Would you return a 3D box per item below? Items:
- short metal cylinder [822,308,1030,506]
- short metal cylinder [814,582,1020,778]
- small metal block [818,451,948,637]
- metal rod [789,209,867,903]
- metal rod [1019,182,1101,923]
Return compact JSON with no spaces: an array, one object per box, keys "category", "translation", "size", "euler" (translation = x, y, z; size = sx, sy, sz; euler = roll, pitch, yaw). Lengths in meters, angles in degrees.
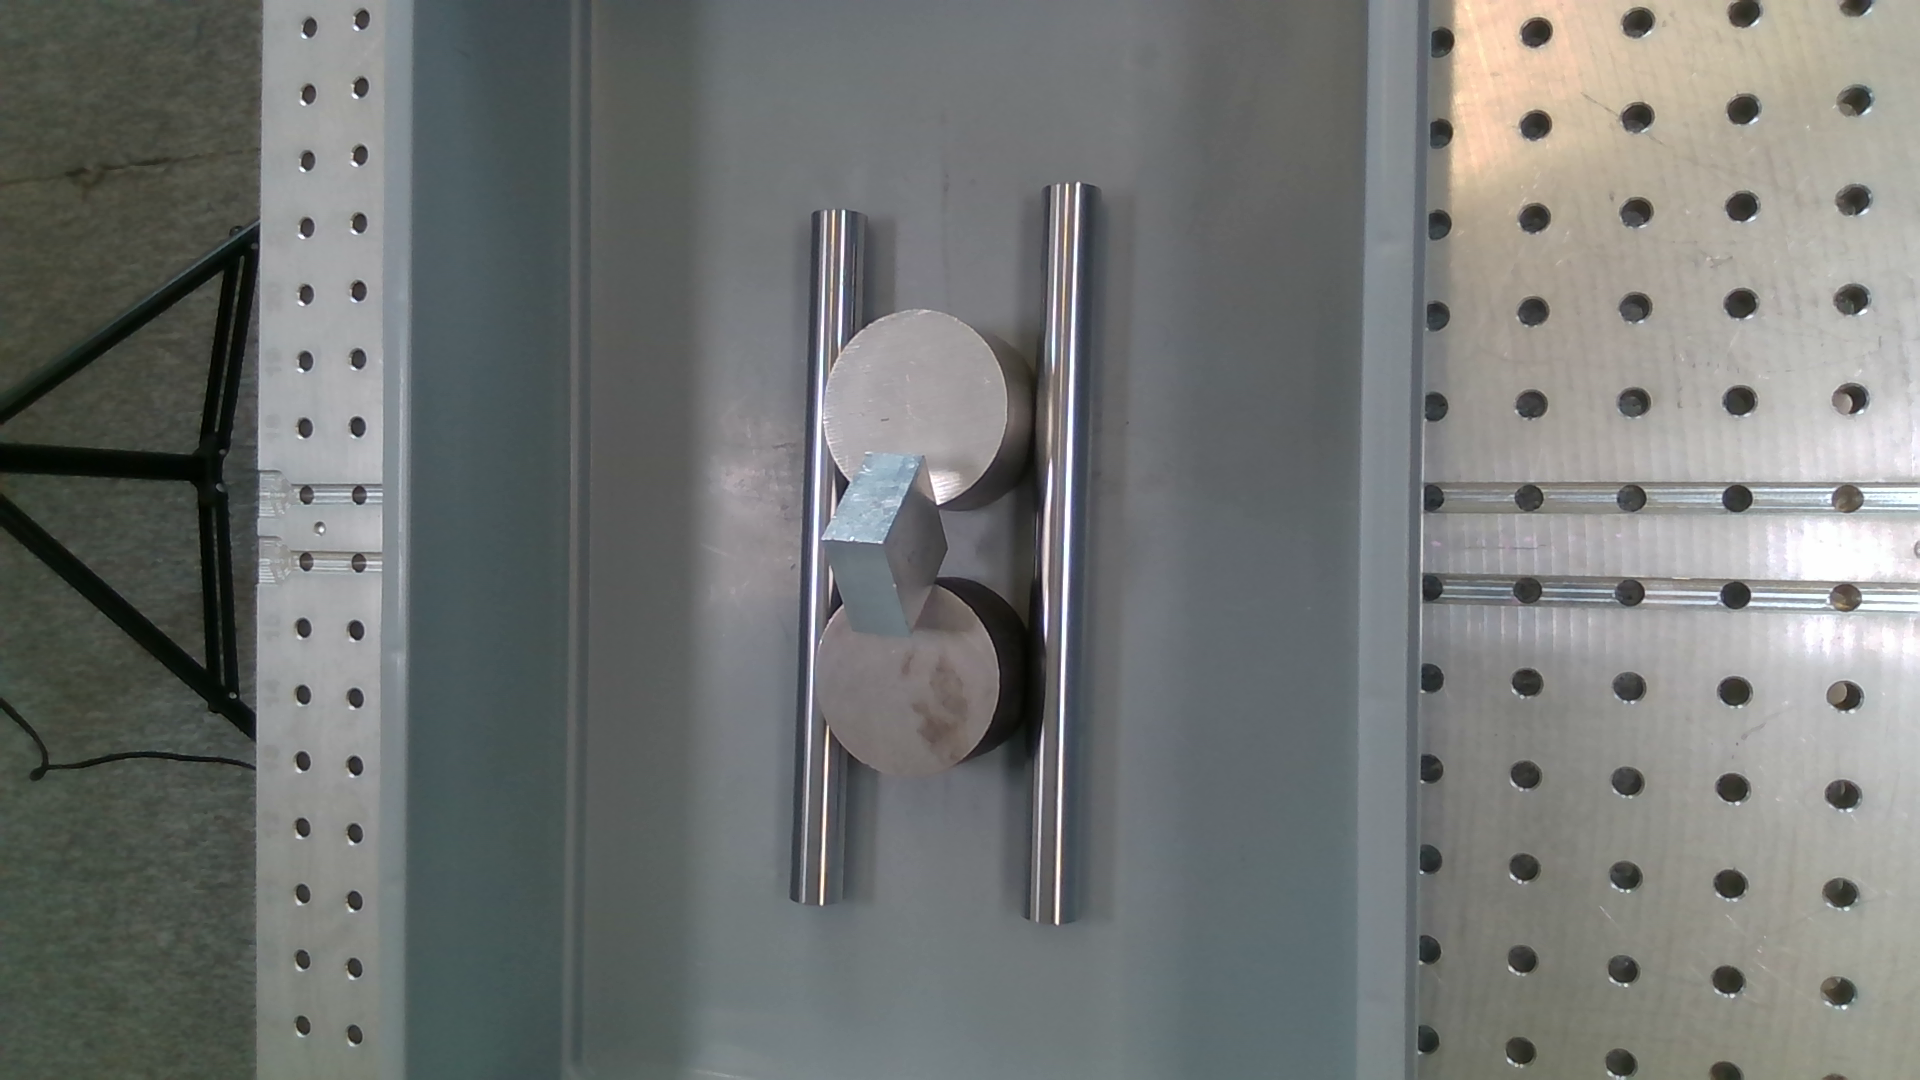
[{"category":"short metal cylinder","translation":[-0.011,-0.053,0.575],"size":[0.080,0.050,0.080],"euler":[0,91,20]},{"category":"short metal cylinder","translation":[-0.014,0.056,0.578],"size":[0.080,0.050,0.080],"euler":[0,91,20]},{"category":"small metal block","translation":[-0.029,0.001,0.533],"size":[0.025,0.050,0.050],"euler":[4,135,19]},{"category":"metal rod","translation":[-0.058,0.008,0.606],"size":[0.025,0.025,0.300],"euler":[3,91,20]},{"category":"metal rod","translation":[0.041,0.006,0.570],"size":[0.025,0.025,0.300],"euler":[2,91,20]}]
